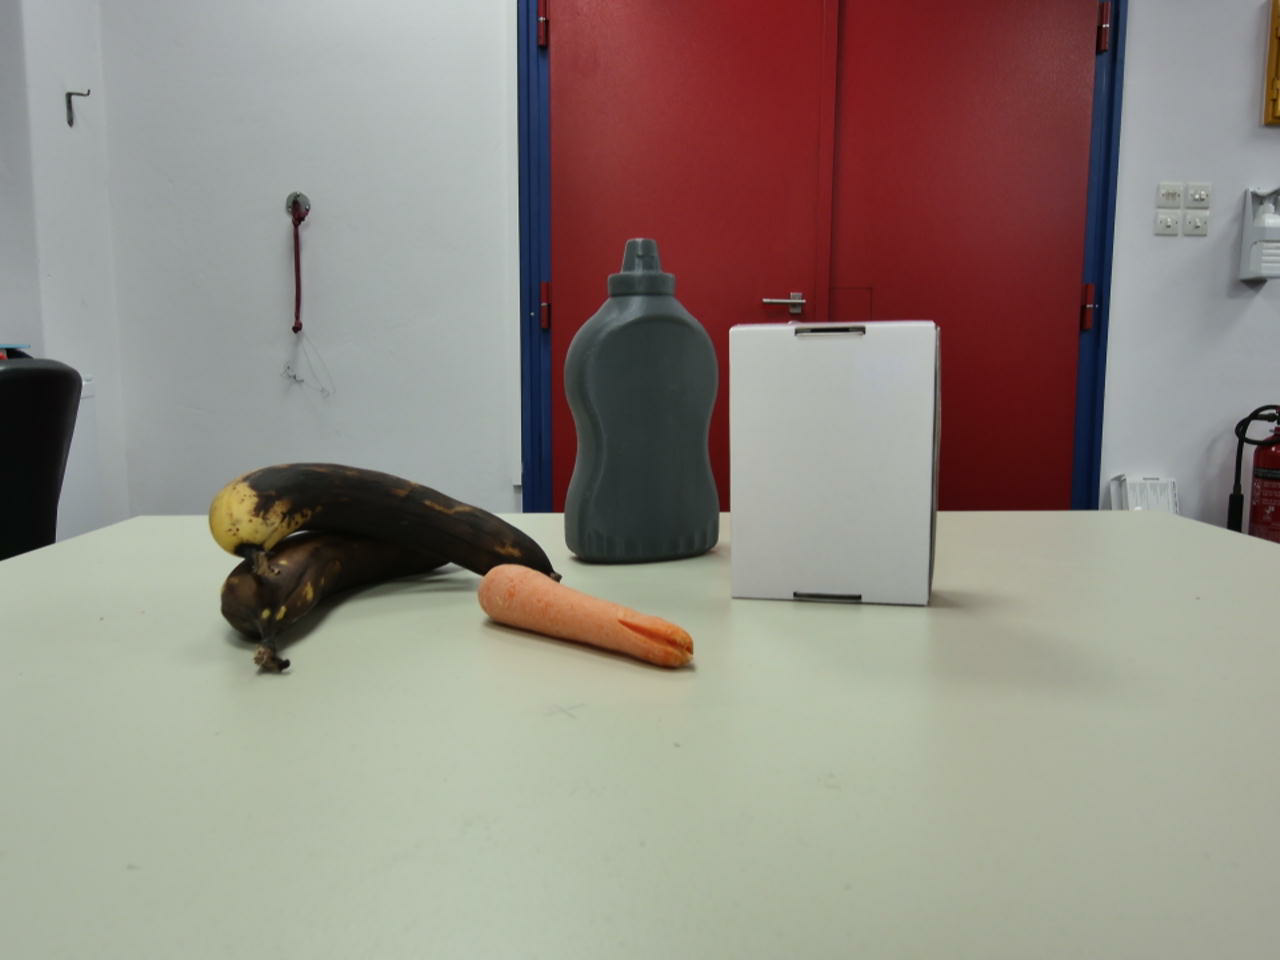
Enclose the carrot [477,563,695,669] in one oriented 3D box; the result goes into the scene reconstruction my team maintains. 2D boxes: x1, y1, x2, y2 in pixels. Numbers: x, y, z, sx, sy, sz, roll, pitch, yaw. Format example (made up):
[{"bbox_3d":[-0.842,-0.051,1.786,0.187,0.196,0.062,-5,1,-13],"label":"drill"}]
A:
[{"bbox_3d":[-0.029,0.061,0.465,0.136,0.032,0.030,5,6,44],"label":"carrot"}]
